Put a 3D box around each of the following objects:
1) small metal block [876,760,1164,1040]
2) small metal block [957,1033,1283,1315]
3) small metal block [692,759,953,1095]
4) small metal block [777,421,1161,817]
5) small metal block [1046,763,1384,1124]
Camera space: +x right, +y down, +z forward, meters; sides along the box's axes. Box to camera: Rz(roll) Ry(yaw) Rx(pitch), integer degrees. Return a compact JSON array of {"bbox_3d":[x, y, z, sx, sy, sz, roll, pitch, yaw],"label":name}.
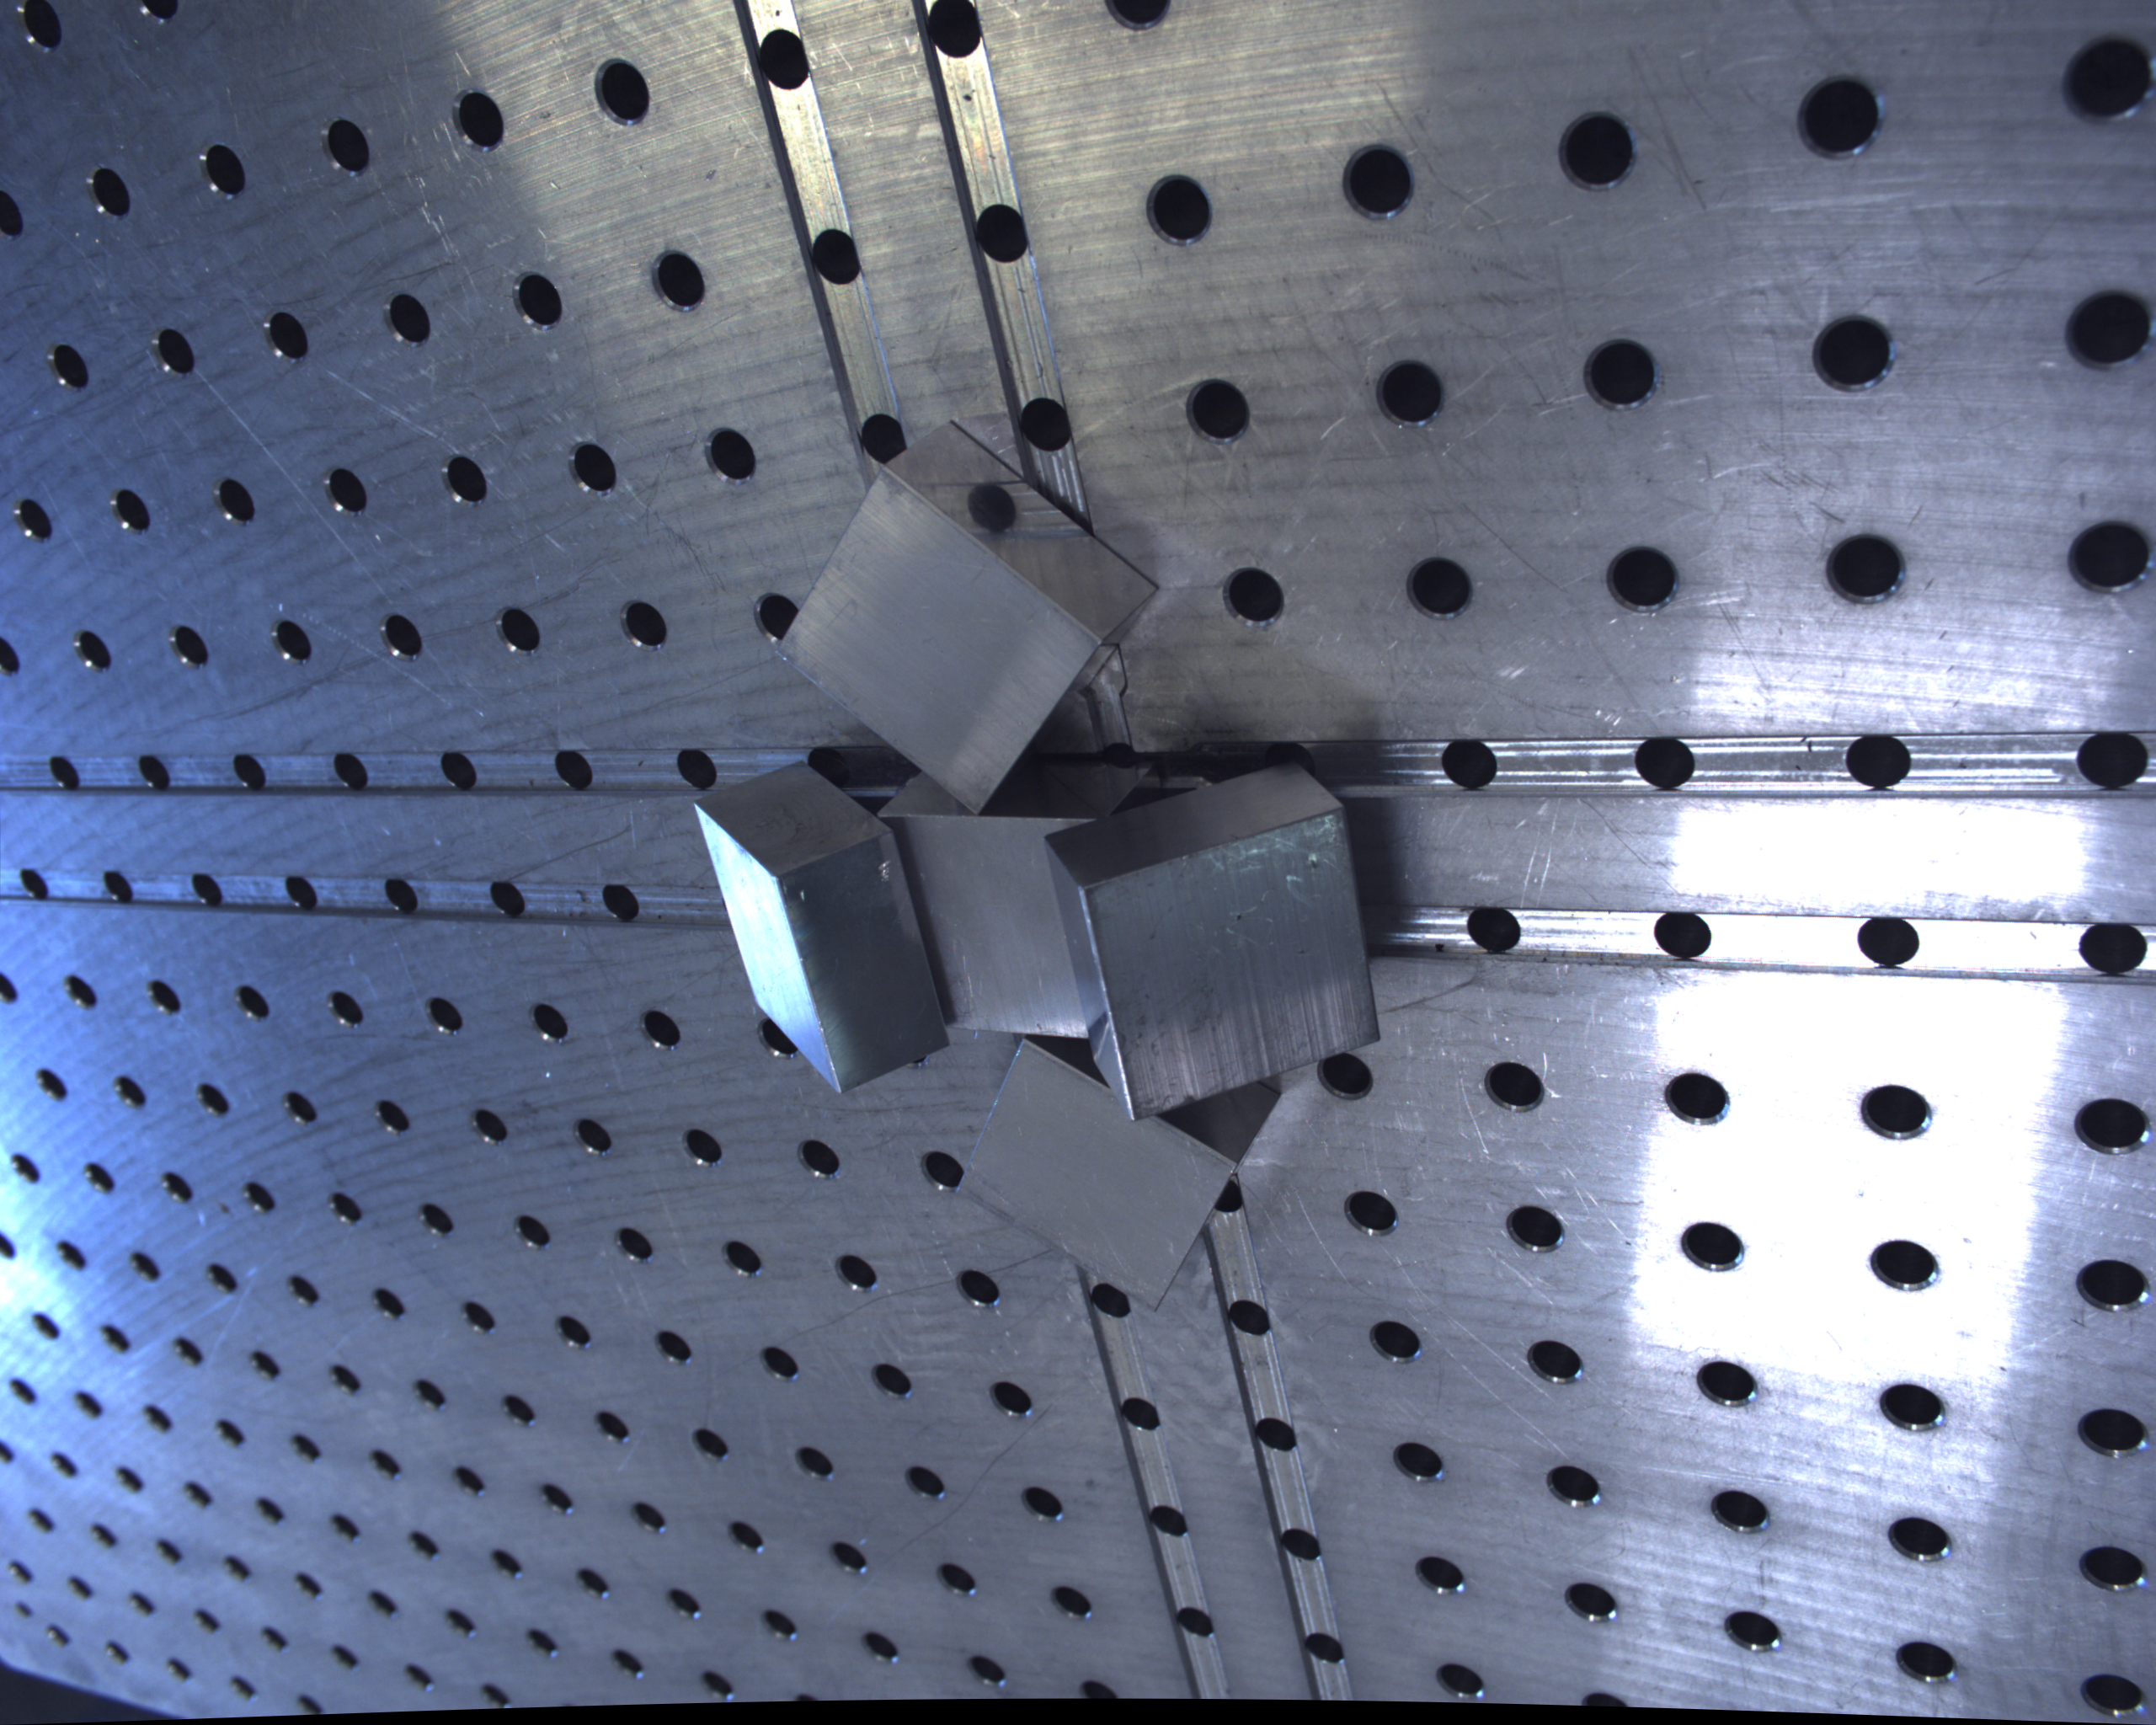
[{"bbox_3d":[-0.007,0.007,0.419,0.050,0.025,0.050,1,118,27],"label":"small metal block"},{"bbox_3d":[0.008,0.060,0.444,0.050,0.025,0.050,31,129,10],"label":"small metal block"},{"bbox_3d":[-0.053,0.012,0.431,0.050,0.025,0.050,34,143,55],"label":"small metal block"},{"bbox_3d":[-0.021,-0.046,0.395,0.050,0.025,0.050,40,129,2],"label":"small metal block"},{"bbox_3d":[0.026,0.015,0.389,0.050,0.025,0.050,-16,116,-9],"label":"small metal block"}]
